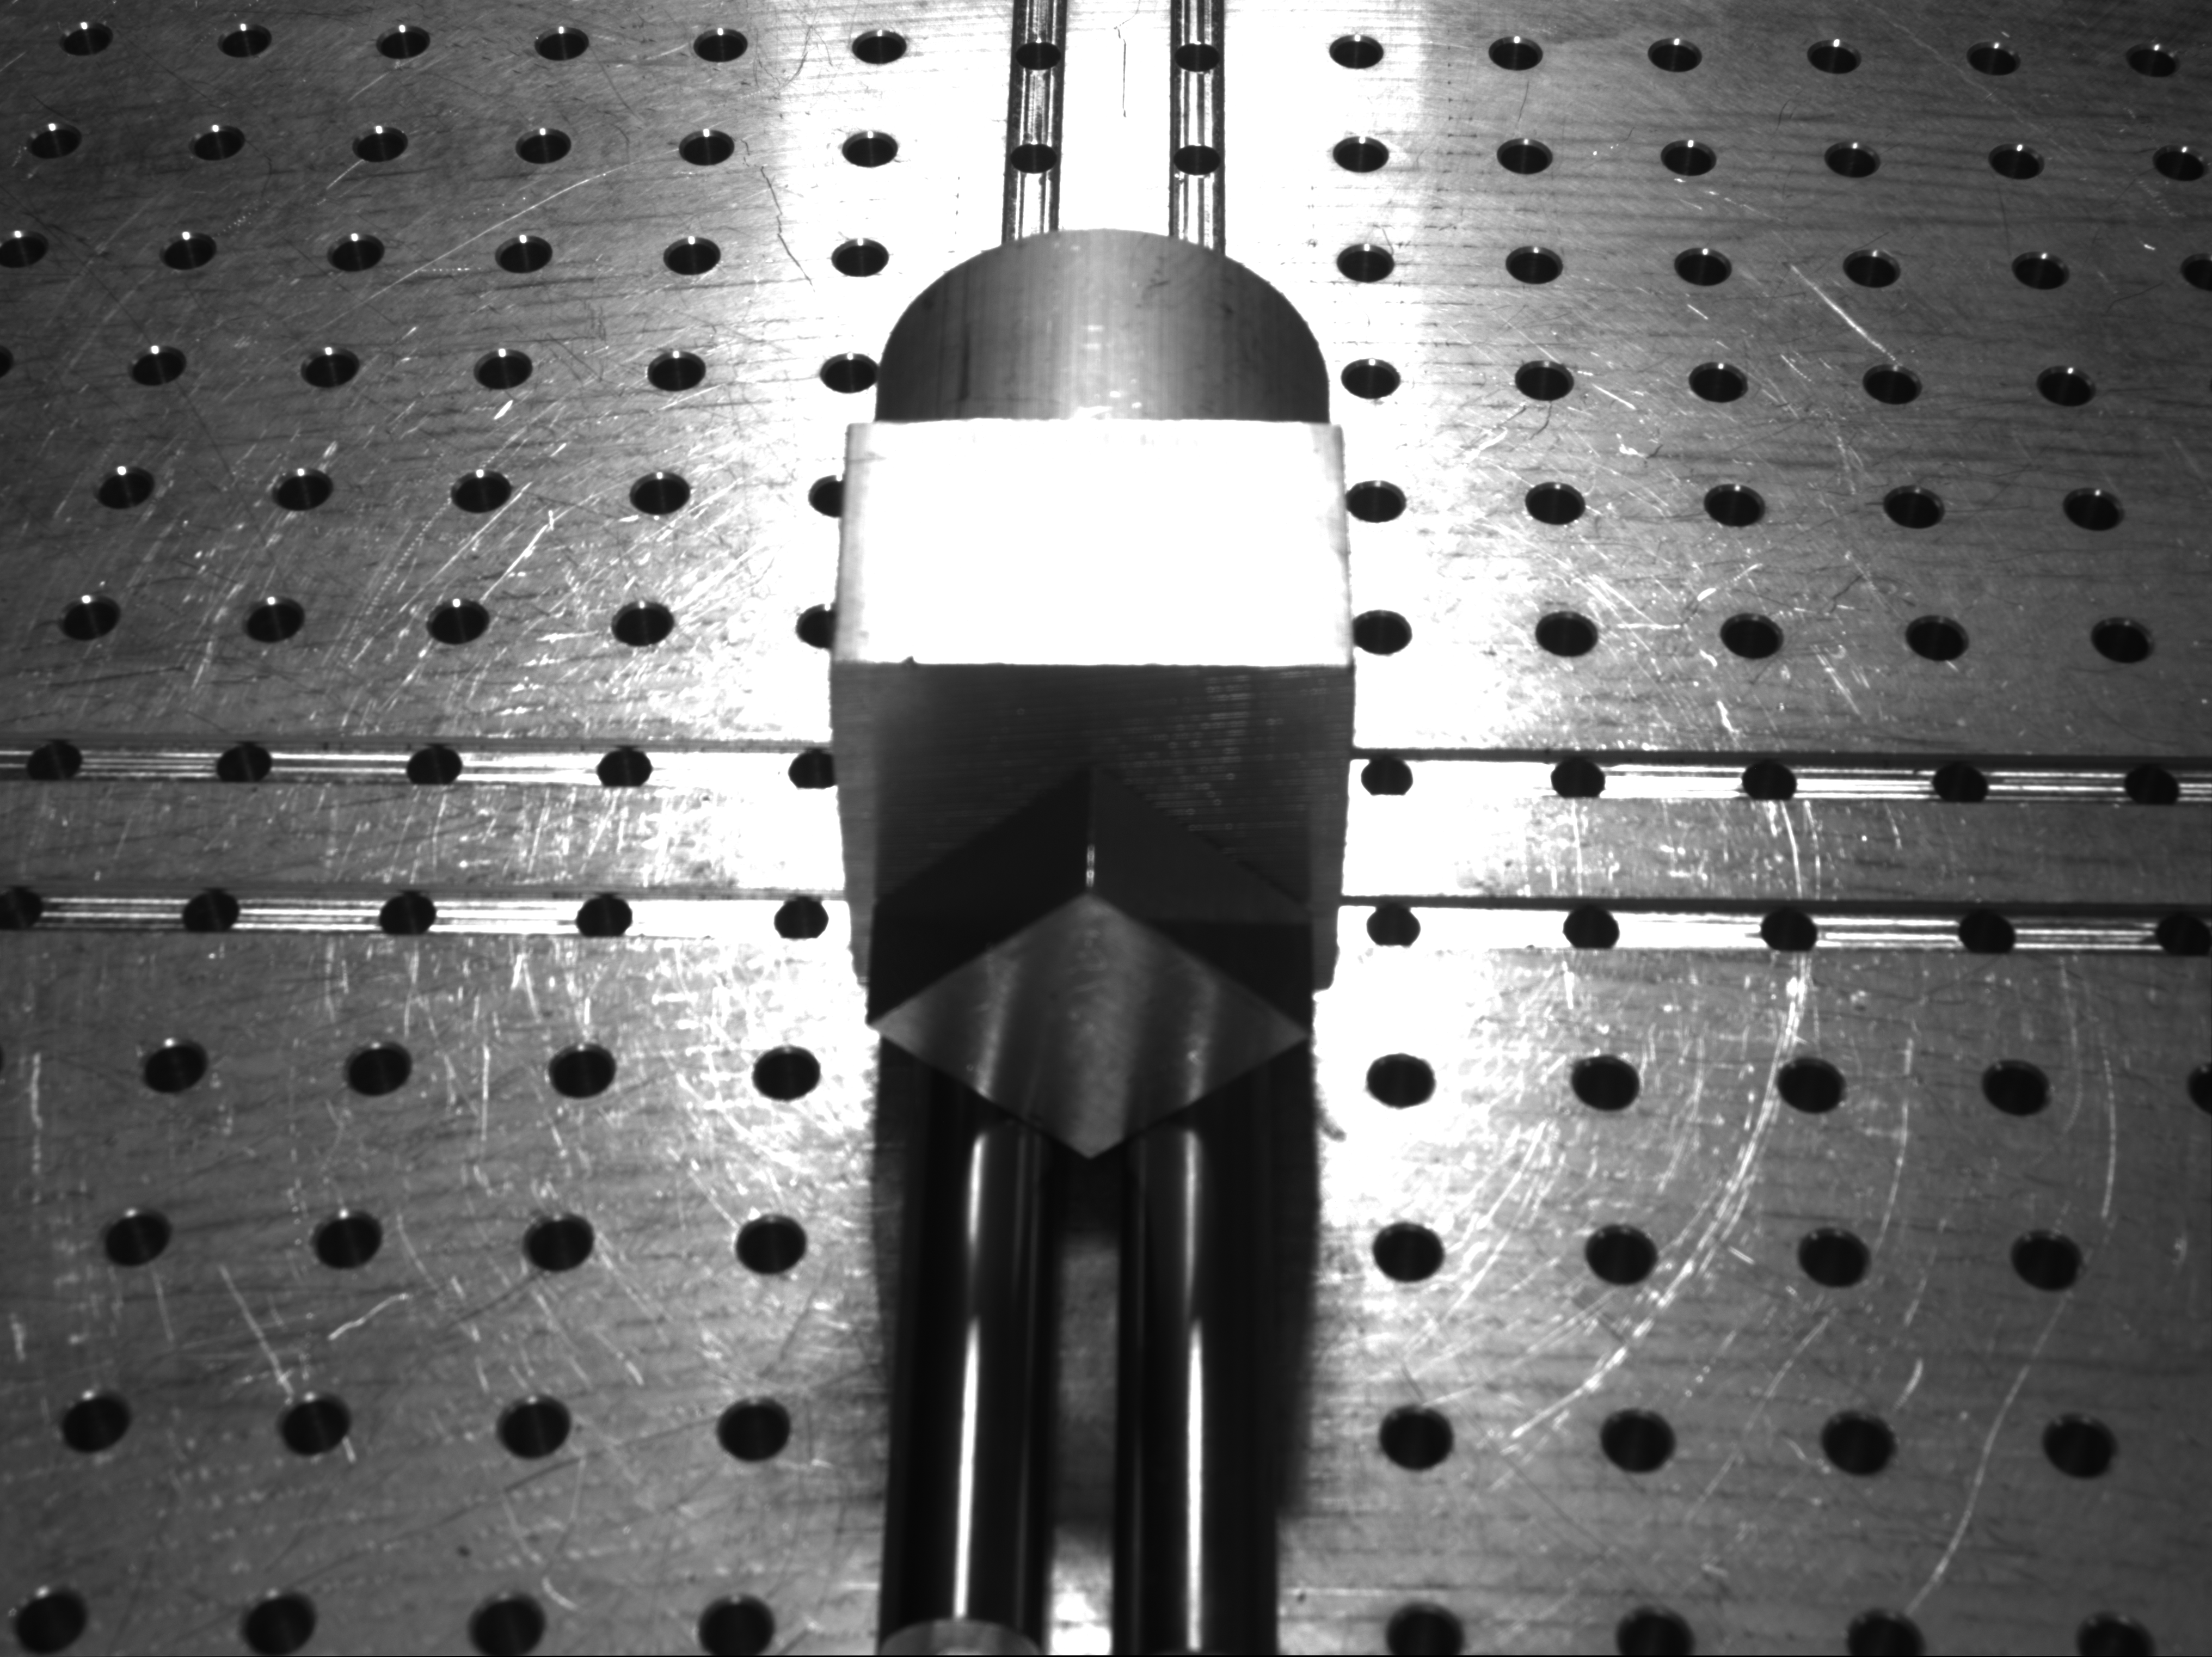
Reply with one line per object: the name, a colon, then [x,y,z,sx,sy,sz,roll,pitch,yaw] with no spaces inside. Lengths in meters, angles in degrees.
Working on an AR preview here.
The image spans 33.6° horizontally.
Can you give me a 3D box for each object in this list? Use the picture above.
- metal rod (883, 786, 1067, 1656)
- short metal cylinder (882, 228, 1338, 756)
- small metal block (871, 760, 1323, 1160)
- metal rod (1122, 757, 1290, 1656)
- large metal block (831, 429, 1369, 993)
metal rod: [-0.018,0.009,0.639,0.025,0.025,0.300,1,50,1]
short metal cylinder: [0.000,-0.056,0.629,0.080,0.080,0.050,1,50,1]
small metal block: [-0.001,0.022,0.580,0.050,0.050,0.025,33,40,-32]
metal rod: [0.017,0.012,0.636,0.025,0.025,0.300,1,50,1]
large metal block: [0.000,-0.018,0.592,0.080,0.080,0.050,0,50,0]
